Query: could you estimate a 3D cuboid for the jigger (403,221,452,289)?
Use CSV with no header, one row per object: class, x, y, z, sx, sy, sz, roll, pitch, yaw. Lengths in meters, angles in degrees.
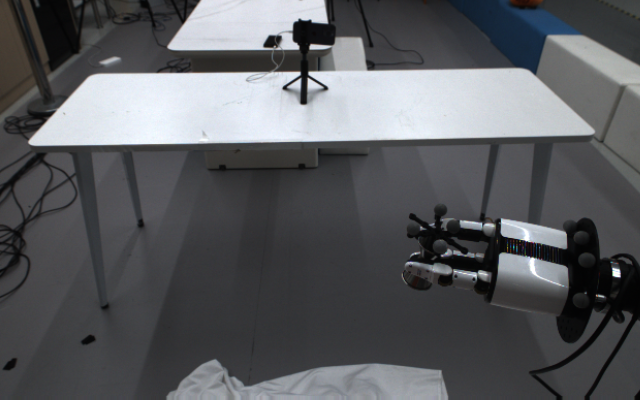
jigger,0.141,0.083,0.657,0.043,0.071,0.043,10,35,-7
